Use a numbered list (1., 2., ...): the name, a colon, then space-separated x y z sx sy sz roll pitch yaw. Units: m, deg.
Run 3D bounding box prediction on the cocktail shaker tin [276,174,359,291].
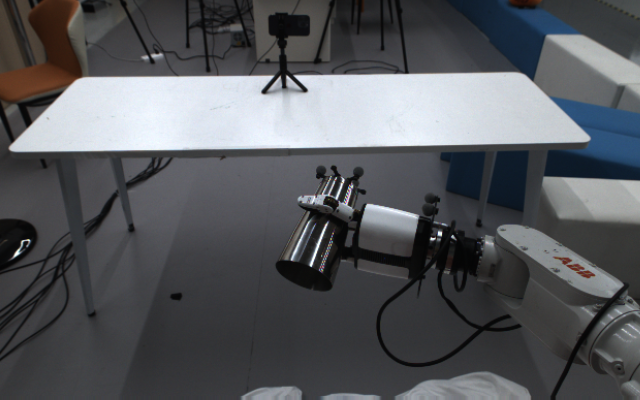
1. cocktail shaker tin: 0.002 0.044 0.760 0.093 0.093 0.170 14 57 16
